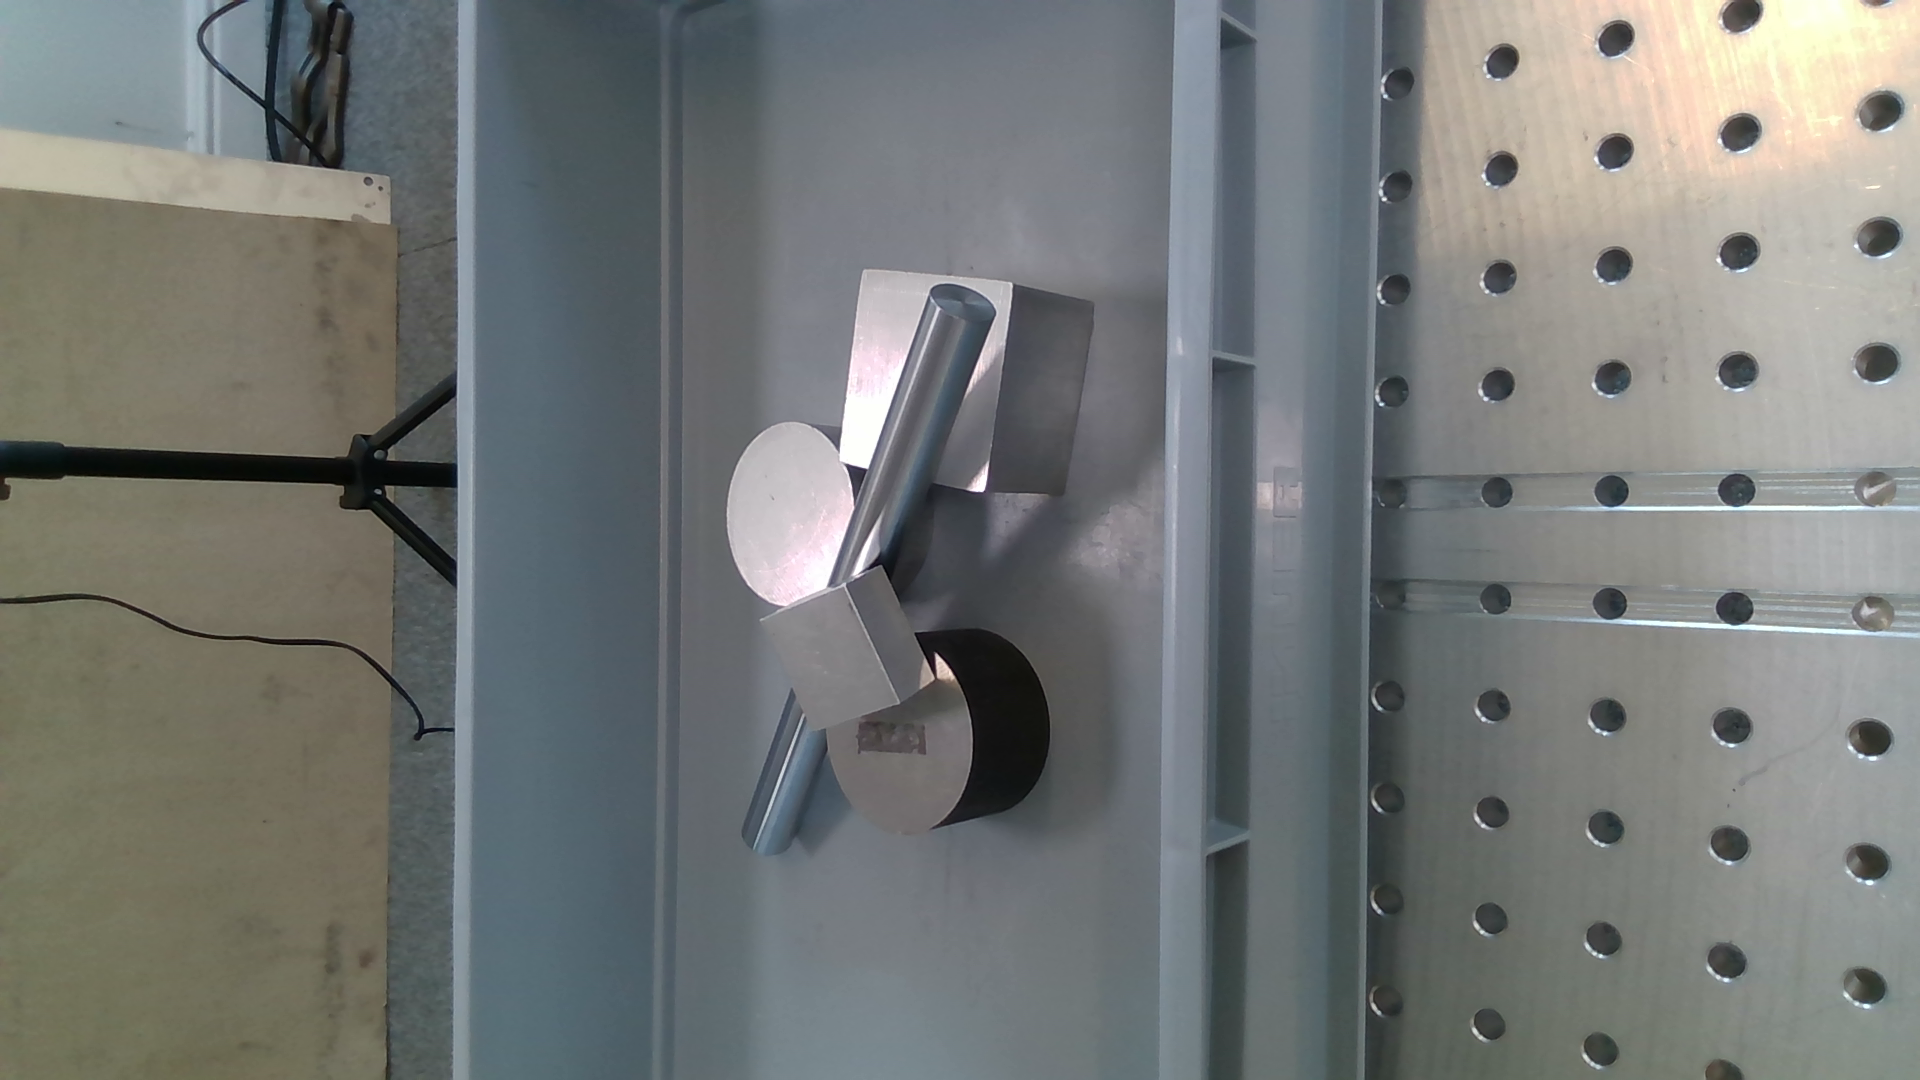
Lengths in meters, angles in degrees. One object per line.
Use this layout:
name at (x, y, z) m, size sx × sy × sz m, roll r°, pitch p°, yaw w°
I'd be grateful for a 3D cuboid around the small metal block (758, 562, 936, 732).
small metal block at (-0.045, 0.043, 0.545) m, size 0.050 × 0.025 × 0.050 m, roll -23°, pitch 93°, yaw 38°

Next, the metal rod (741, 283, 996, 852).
metal rod at (-0.046, 0.028, 0.574) m, size 0.025 × 0.025 × 0.301 m, roll 47°, pitch 133°, yaw 30°

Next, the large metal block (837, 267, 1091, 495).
large metal block at (0.001, -0.065, 0.561) m, size 0.080 × 0.050 × 0.080 m, roll 14°, pitch 100°, yaw 39°

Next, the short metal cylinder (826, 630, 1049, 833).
short metal cylinder at (-0.010, 0.078, 0.574) m, size 0.080 × 0.050 × 0.080 m, roll 0°, pitch 91°, yaw 40°

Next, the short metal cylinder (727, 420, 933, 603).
short metal cylinder at (-0.059, -0.012, 0.614) m, size 0.080 × 0.050 × 0.080 m, roll 0°, pitch 91°, yaw 40°
